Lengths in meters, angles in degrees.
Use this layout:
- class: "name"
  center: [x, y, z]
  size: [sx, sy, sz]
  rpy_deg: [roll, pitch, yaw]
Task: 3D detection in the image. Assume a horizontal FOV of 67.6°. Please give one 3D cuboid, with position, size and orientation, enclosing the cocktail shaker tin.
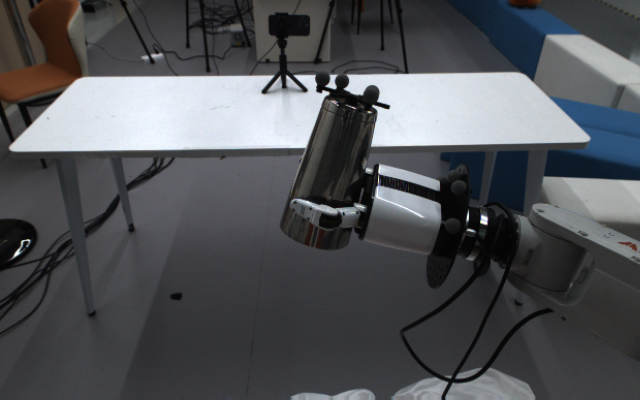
- class: "cocktail shaker tin"
  center: [0.015, -0.036, 0.594]
  size: [0.093, 0.170, 0.093]
  rpy_deg: [14, 20, -5]
